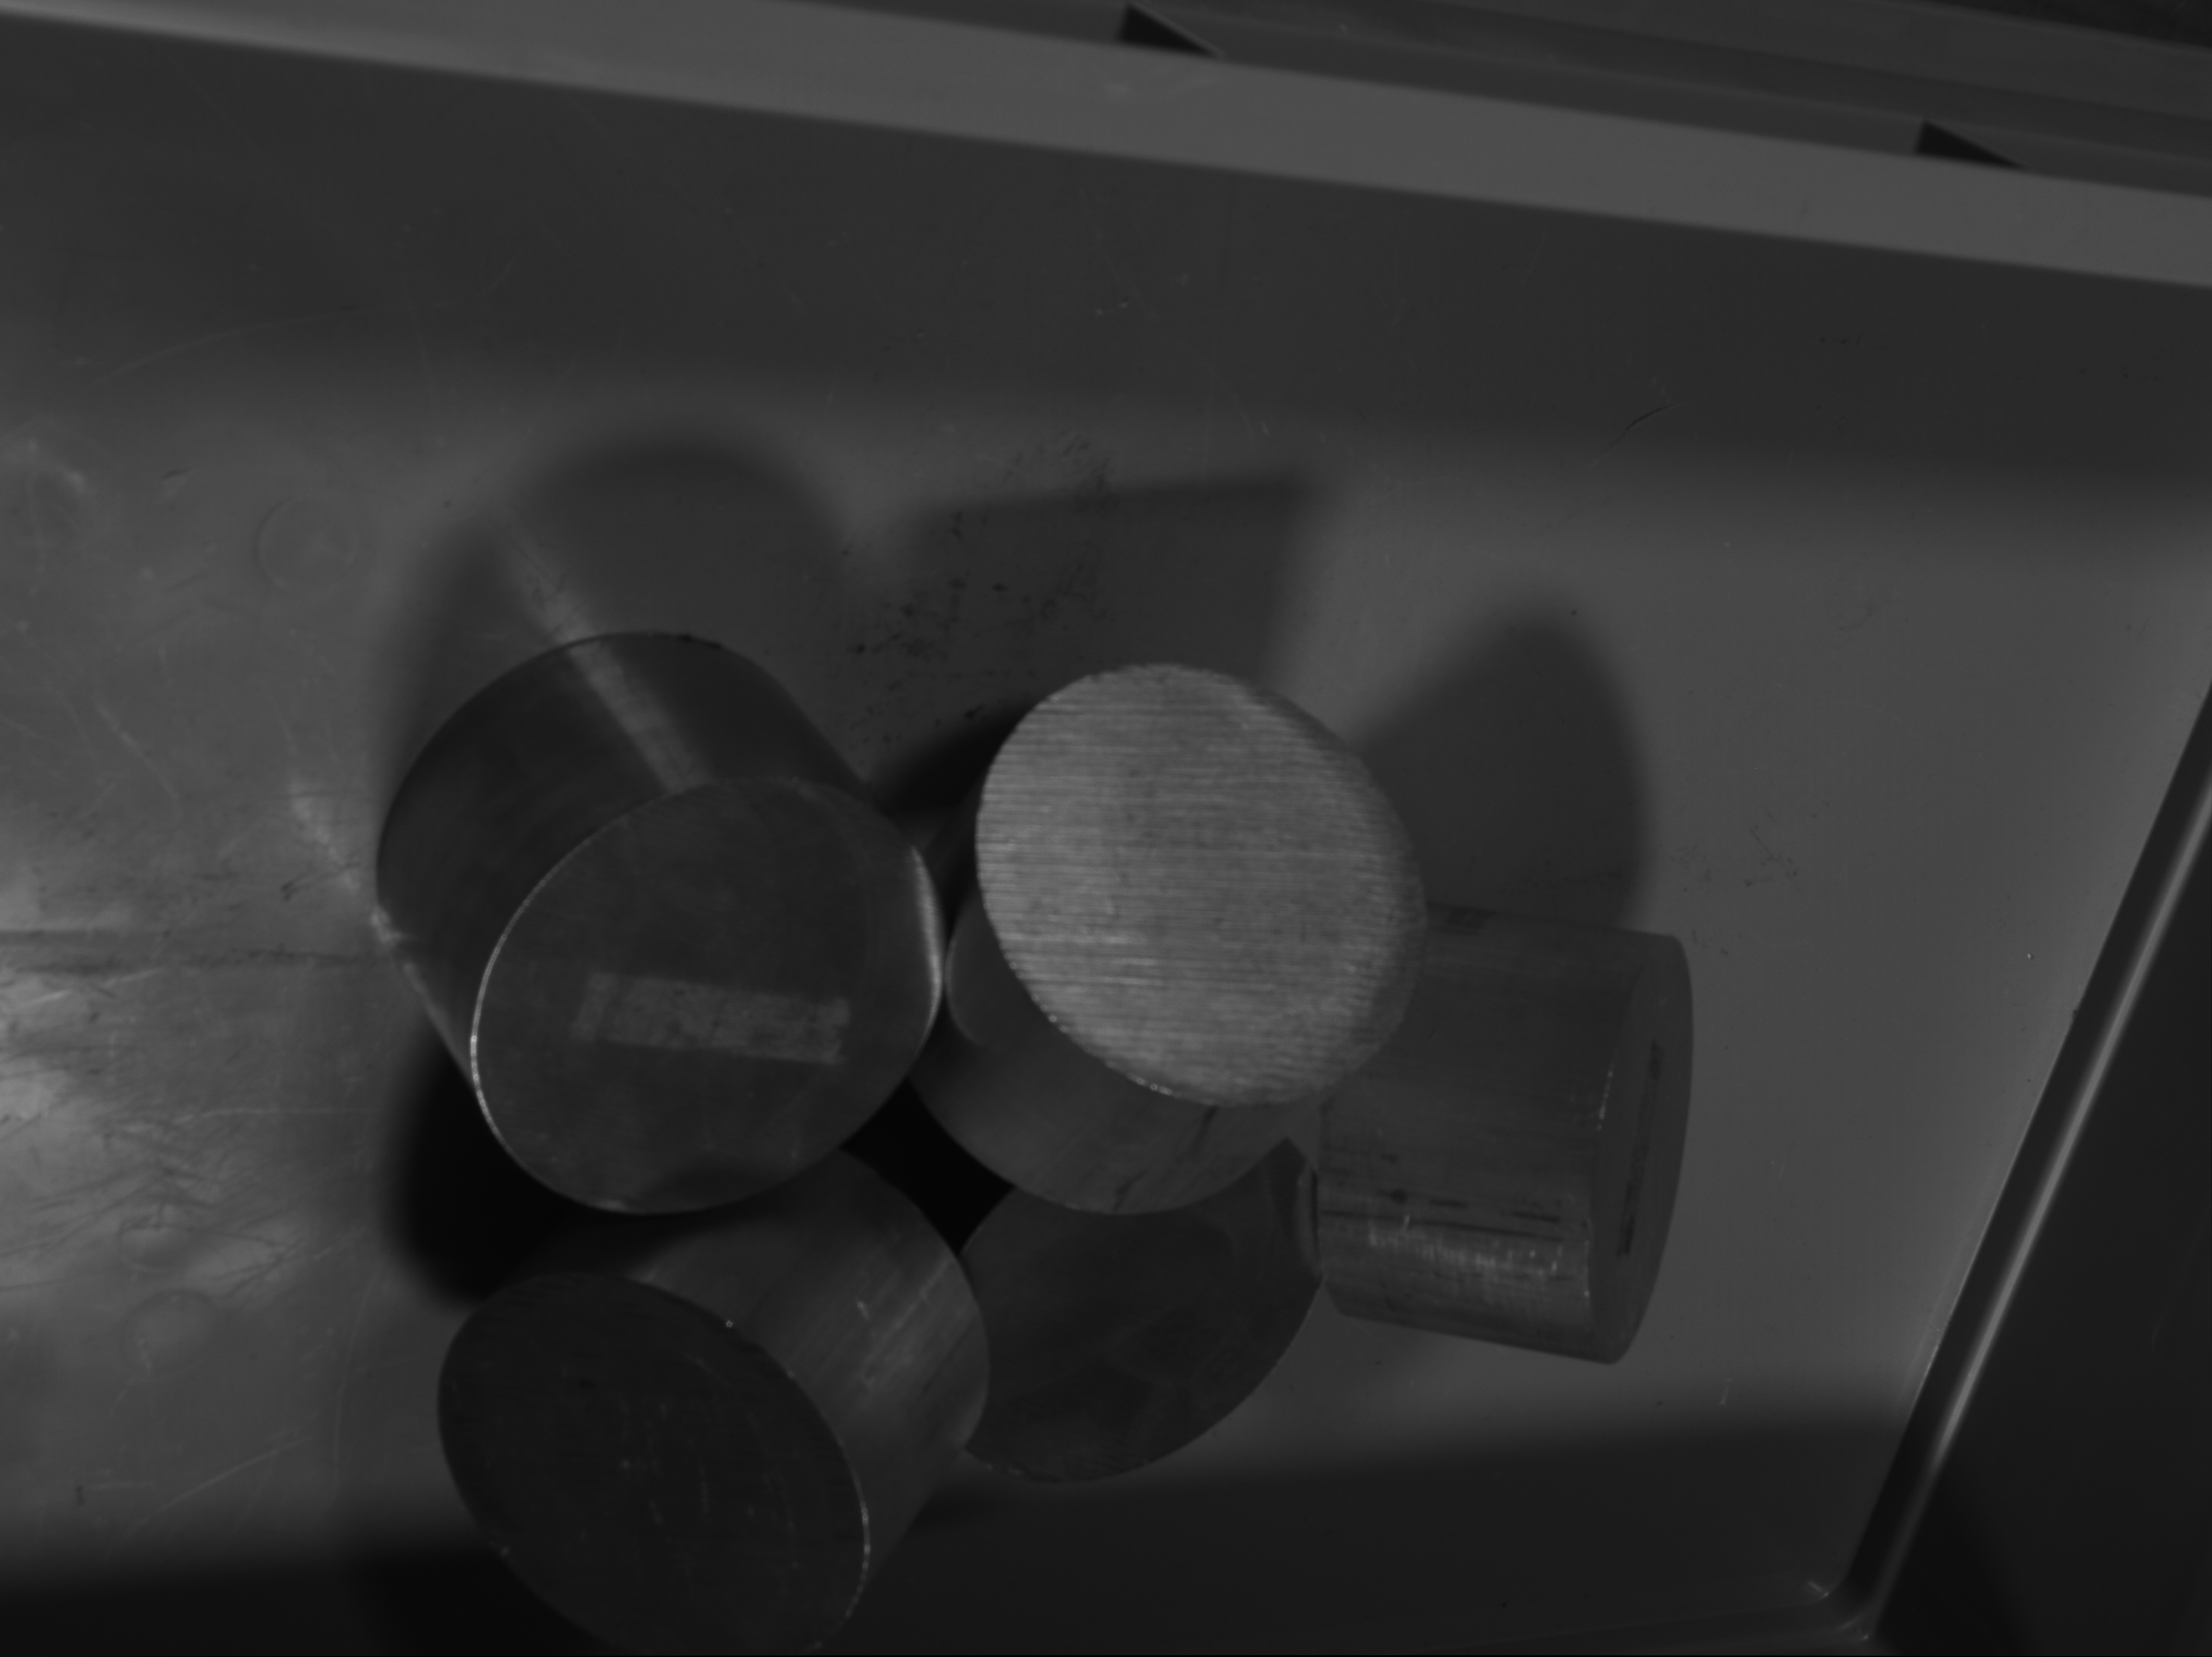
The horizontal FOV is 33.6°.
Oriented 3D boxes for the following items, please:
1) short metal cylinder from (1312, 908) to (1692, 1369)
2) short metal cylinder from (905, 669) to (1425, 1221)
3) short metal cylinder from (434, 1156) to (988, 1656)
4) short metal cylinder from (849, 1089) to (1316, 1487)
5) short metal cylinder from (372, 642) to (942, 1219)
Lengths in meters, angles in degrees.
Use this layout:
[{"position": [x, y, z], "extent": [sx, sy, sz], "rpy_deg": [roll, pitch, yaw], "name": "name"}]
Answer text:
[{"position": [0.075, 0.057, 0.685], "extent": [0.080, 0.050, 0.080], "rpy_deg": [8, 90, -70], "name": "short metal cylinder"}, {"position": [0.007, 0.020, 0.620], "extent": [0.080, 0.080, 0.050], "rpy_deg": [-8, 157, -26], "name": "short metal cylinder"}, {"position": [-0.067, 0.097, 0.626], "extent": [0.050, 0.080, 0.080], "rpy_deg": [-50, 150, -55], "name": "short metal cylinder"}, {"position": [-0.007, 0.073, 0.674], "extent": [0.080, 0.050, 0.080], "rpy_deg": [-15, 125, -22], "name": "short metal cylinder"}, {"position": [-0.074, 0.016, 0.599], "extent": [0.080, 0.050, 0.080], "rpy_deg": [-15, 125, -22], "name": "short metal cylinder"}]
